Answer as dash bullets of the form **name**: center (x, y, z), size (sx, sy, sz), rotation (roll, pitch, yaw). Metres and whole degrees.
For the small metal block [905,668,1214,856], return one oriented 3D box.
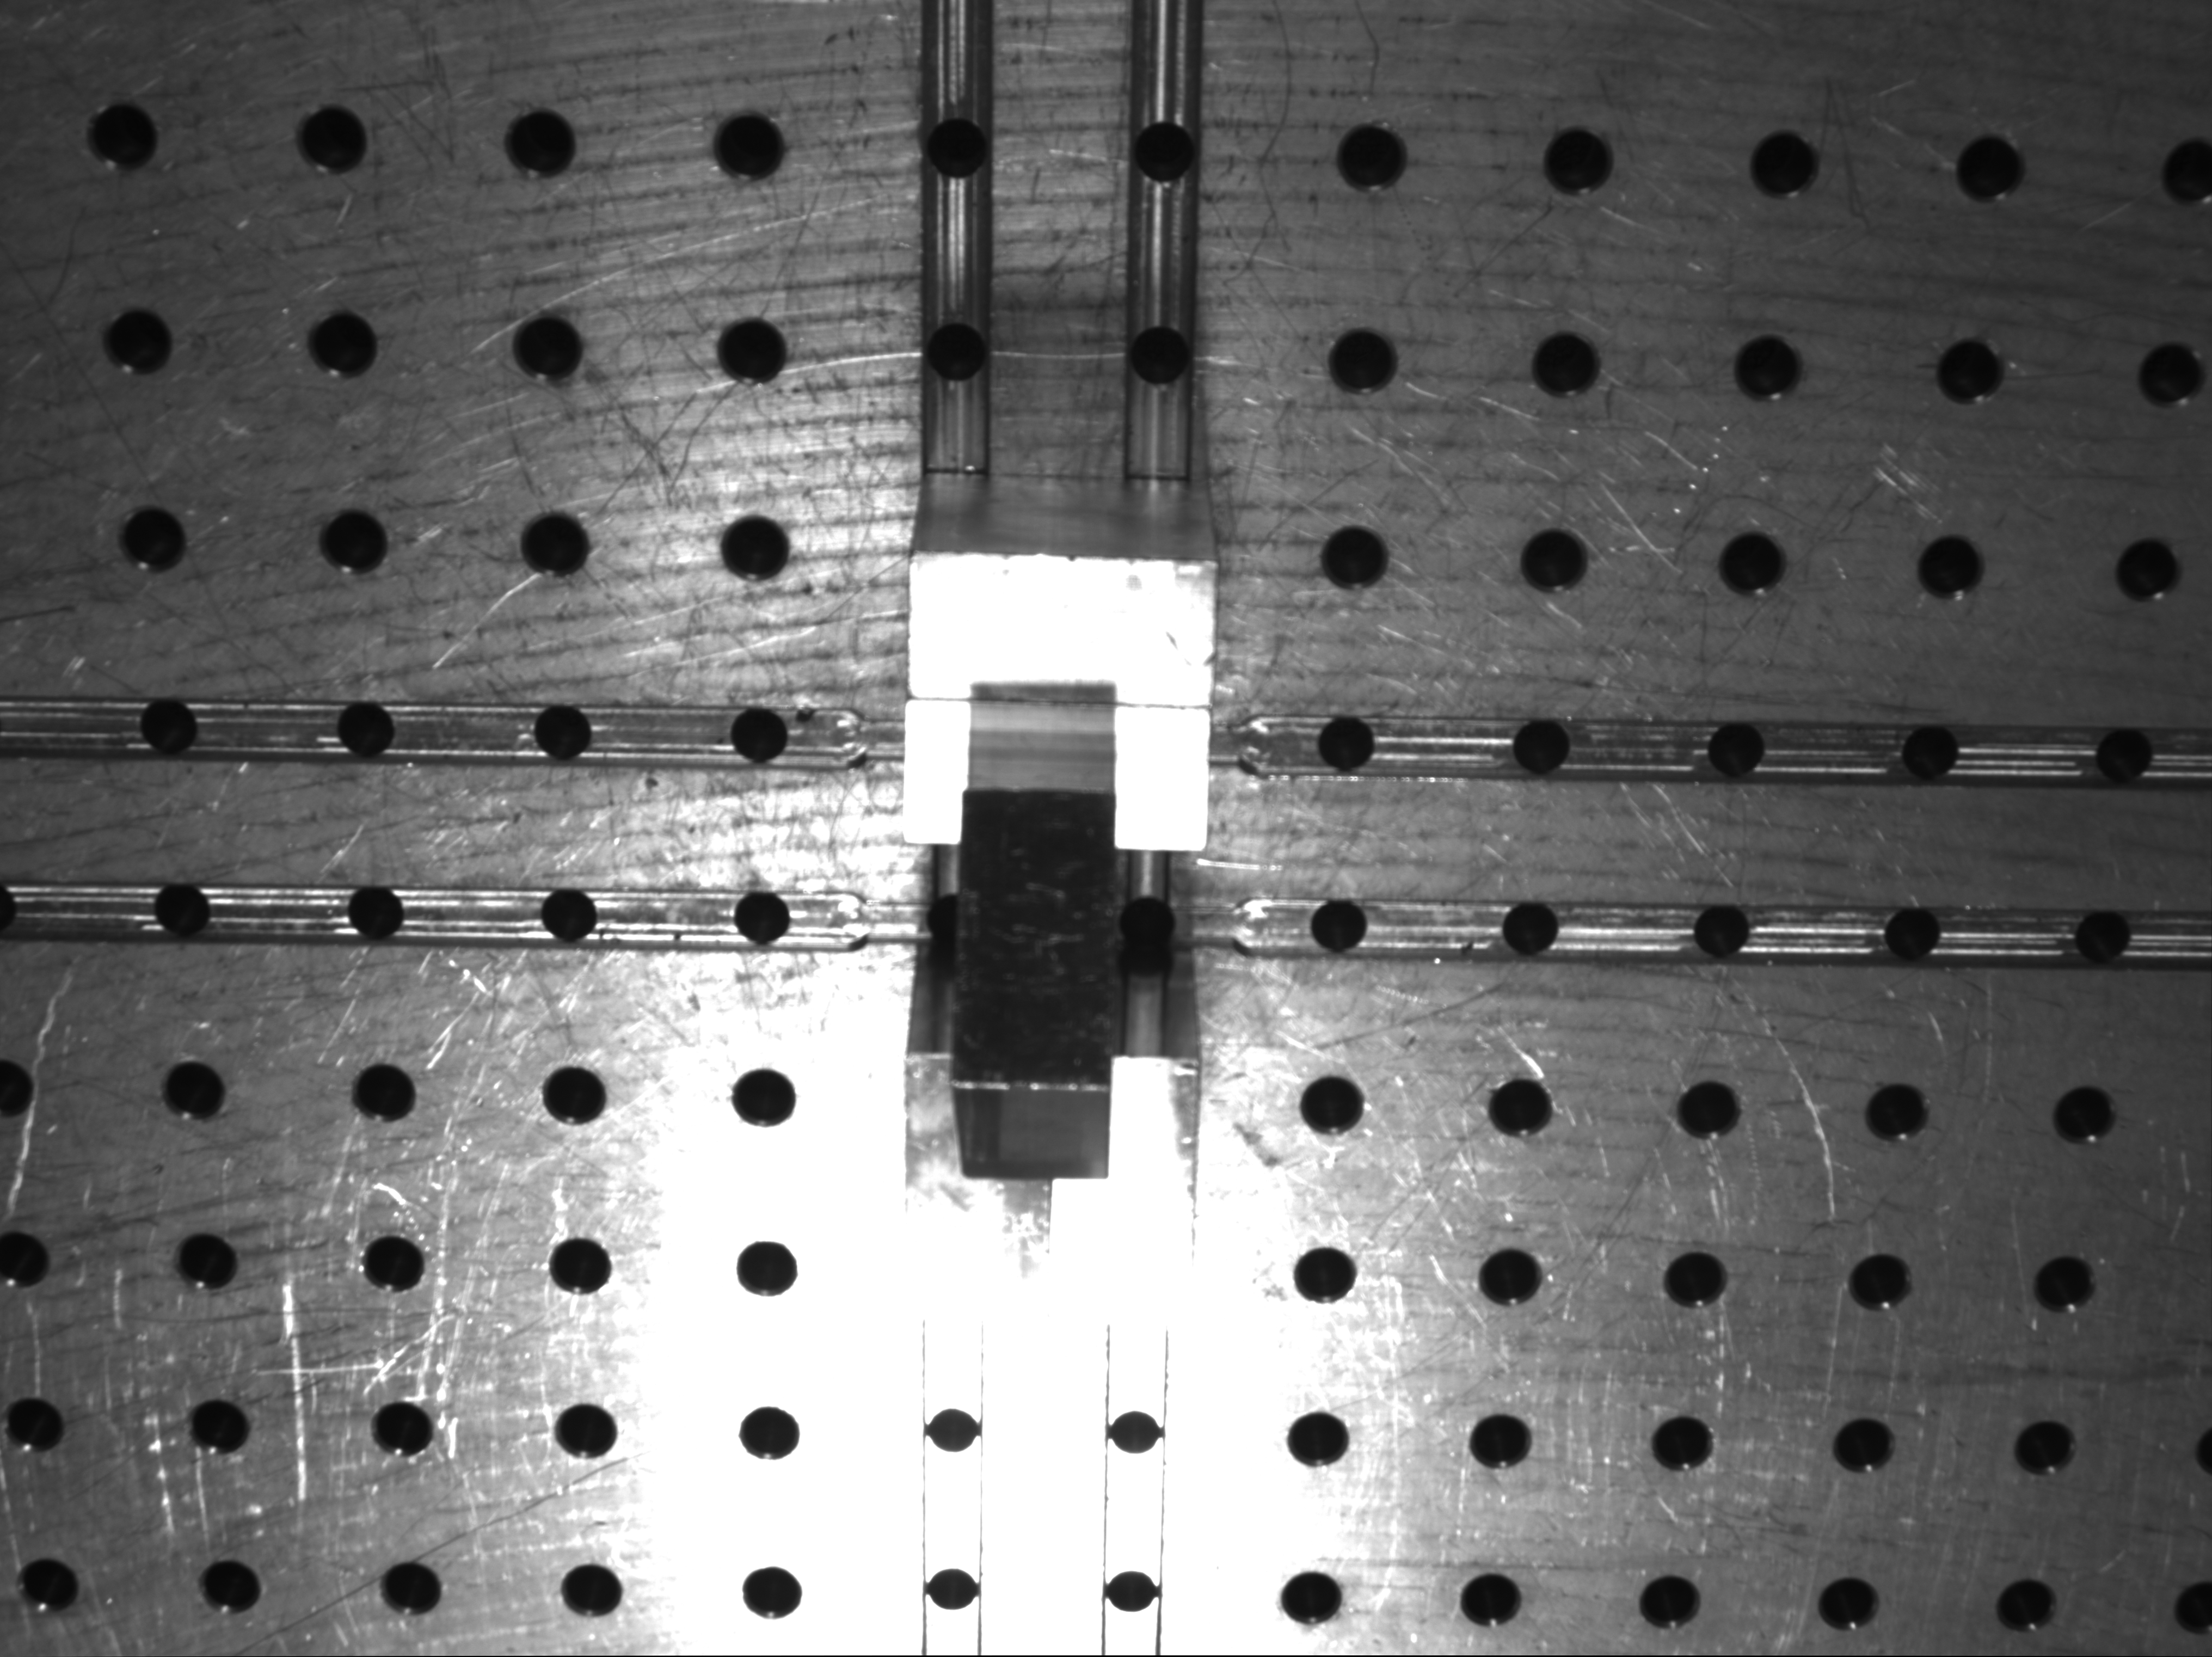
- **small metal block**: center (-0.008, -0.017, 0.626), size (0.050, 0.050, 0.025), rotation (2, 110, -1)

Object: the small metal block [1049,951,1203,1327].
- **small metal block**: center (0.003, 0.054, 0.651), size (0.025, 0.050, 0.050), rotation (1, 110, -1)

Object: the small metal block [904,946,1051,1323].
- **small metal block**: center (-0.022, 0.054, 0.651), size (0.025, 0.050, 0.050), rotation (1, 110, -1)

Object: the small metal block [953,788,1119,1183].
- **small metal block**: center (-0.011, 0.026, 0.598), size (0.025, 0.050, 0.050), rotation (1, 67, 0)

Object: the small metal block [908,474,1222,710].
- **small metal block**: center (-0.007, -0.040, 0.617), size (0.050, 0.050, 0.025), rotation (2, 110, -1)
